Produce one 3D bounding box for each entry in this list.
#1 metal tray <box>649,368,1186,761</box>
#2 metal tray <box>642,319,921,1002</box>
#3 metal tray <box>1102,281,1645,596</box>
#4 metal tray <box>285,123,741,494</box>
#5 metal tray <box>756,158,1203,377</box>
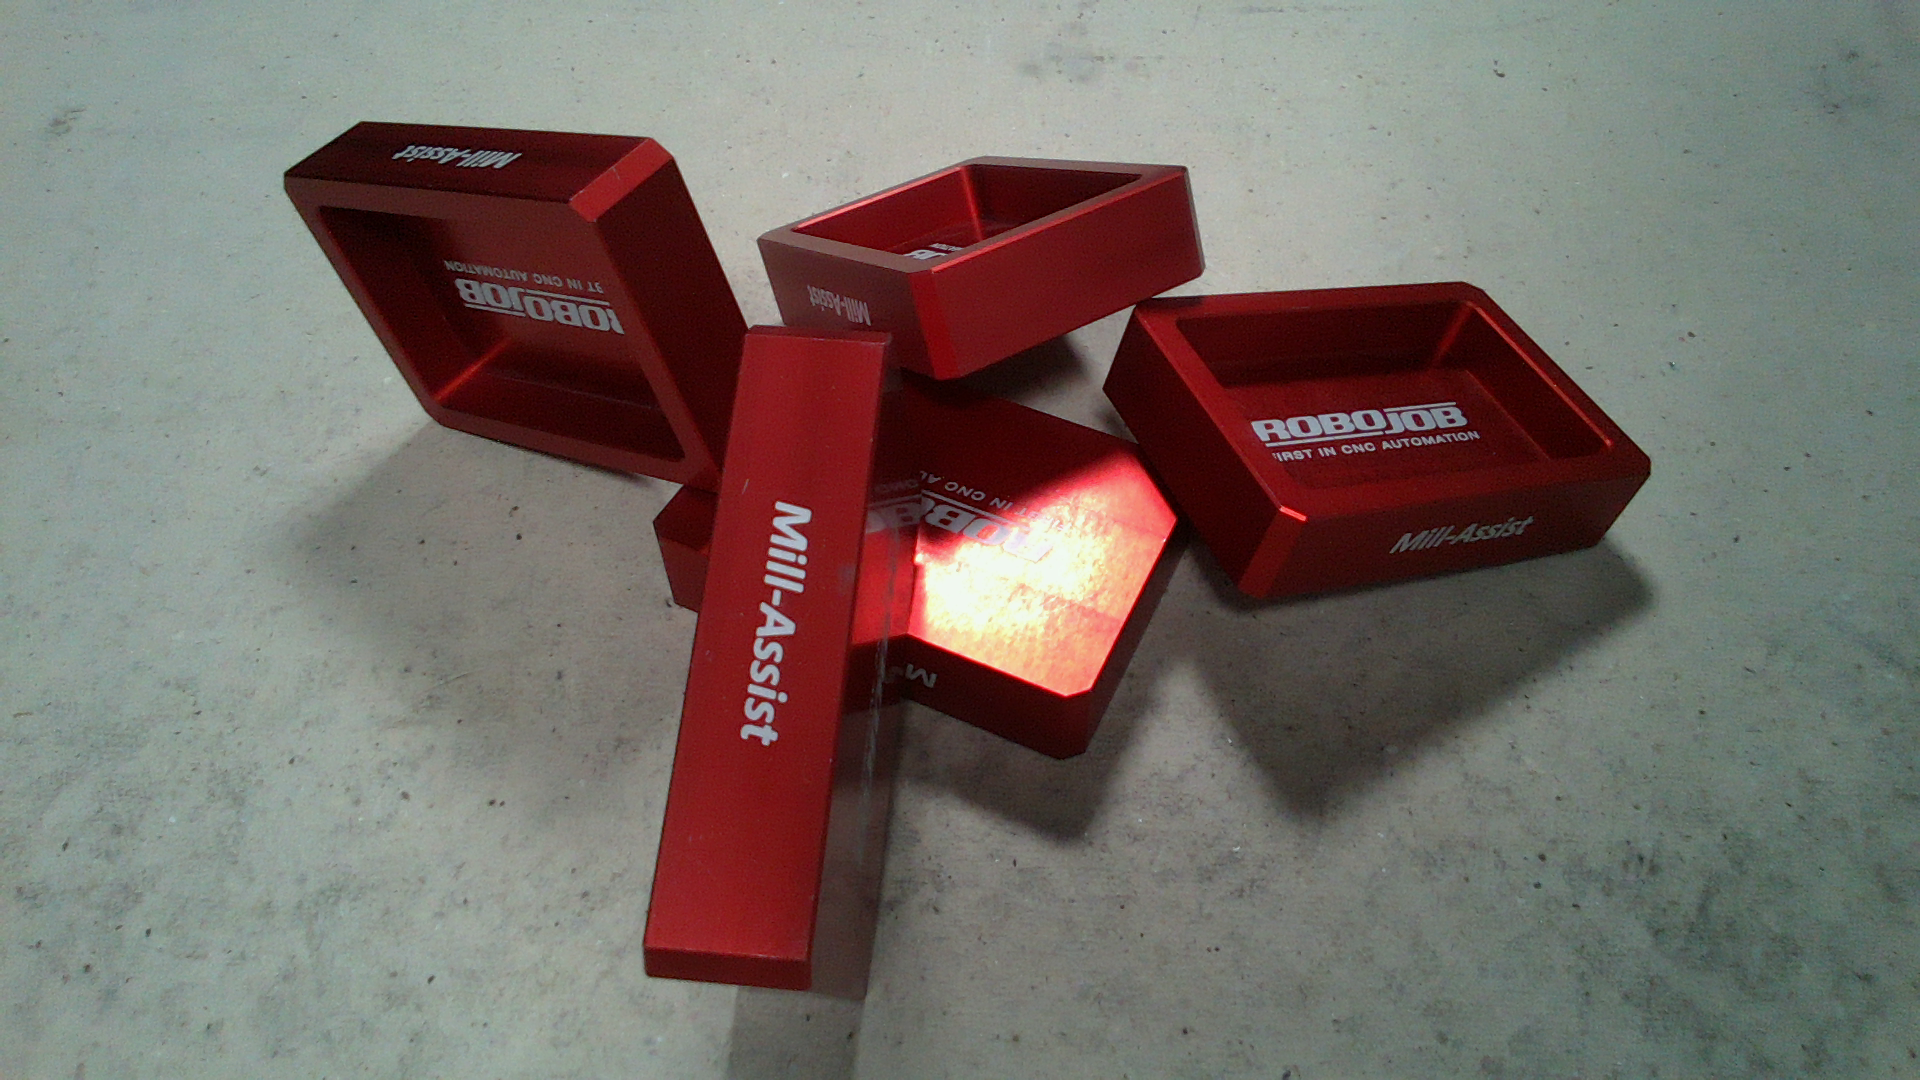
[{"bbox_3d":[-0.009,-0.002,0.390,0.130,0.030,0.090,20,53,16],"label":"metal tray"},{"bbox_3d":[-0.033,0.030,0.299,0.030,0.090,0.130,4,70,4],"label":"metal tray"},{"bbox_3d":[0.118,-0.034,0.396,0.130,0.030,0.090,-7,48,-25],"label":"metal tray"},{"bbox_3d":[-0.120,-0.066,0.385,0.130,0.090,0.030,14,49,33],"label":"metal tray"},{"bbox_3d":[0.001,-0.089,0.425,0.090,0.030,0.130,-25,25,-20],"label":"metal tray"}]
